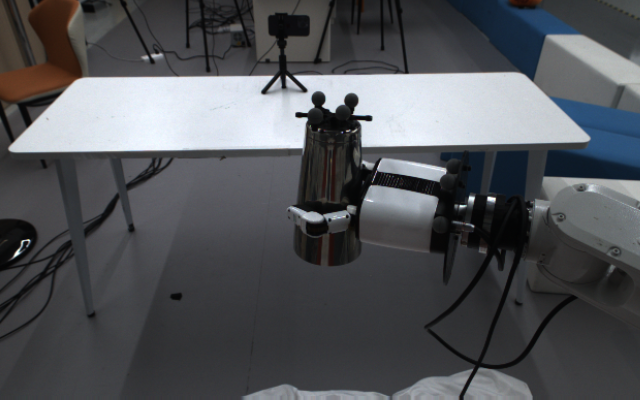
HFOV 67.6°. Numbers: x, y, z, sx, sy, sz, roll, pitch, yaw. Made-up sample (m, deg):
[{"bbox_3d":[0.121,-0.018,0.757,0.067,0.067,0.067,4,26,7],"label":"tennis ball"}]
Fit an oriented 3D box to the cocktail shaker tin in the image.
[{"bbox_3d":[0.015,-0.014,0.604,0.093,0.170,0.093,2,28,-1],"label":"cocktail shaker tin"}]
